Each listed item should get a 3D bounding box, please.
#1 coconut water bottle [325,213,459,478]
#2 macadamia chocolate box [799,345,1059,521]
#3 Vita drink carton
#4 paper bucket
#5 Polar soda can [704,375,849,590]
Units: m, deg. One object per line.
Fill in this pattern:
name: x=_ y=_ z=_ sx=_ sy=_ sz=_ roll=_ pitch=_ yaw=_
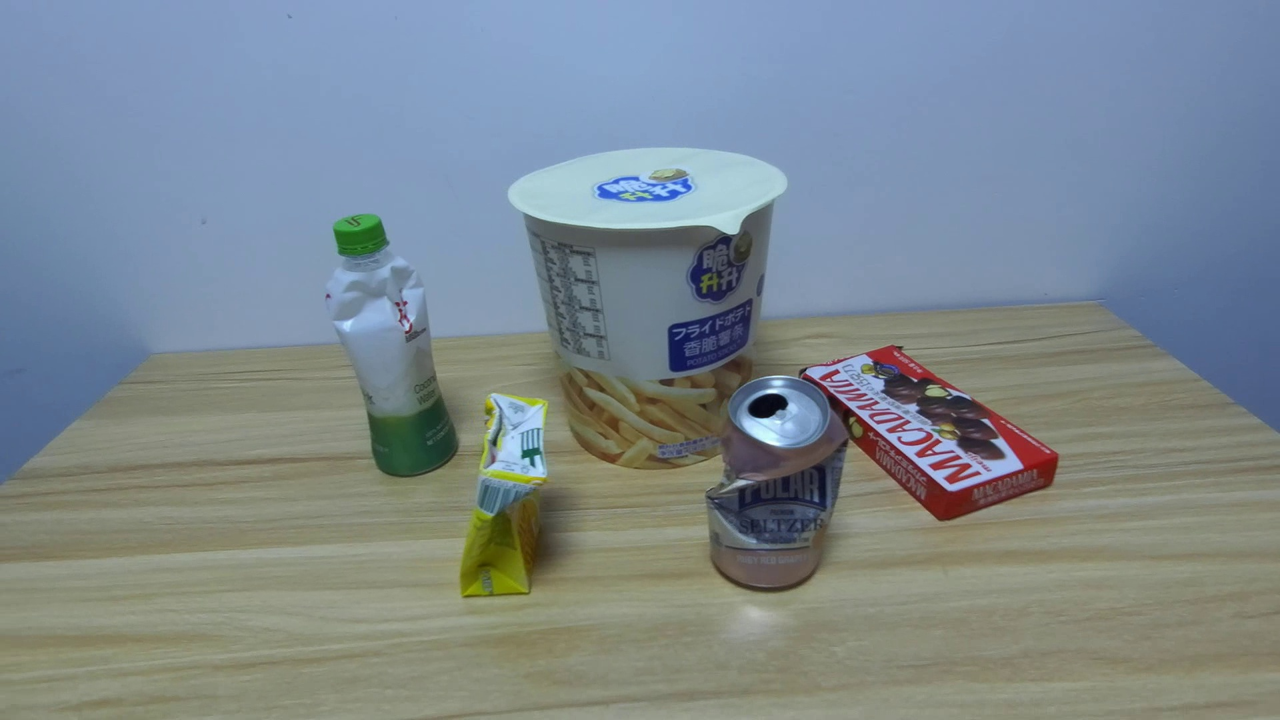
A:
coconut water bottle: x=-0.179 y=-0.008 z=0.502 sx=0.069 sy=0.186 sz=0.069 roll=-3 pitch=31 yaw=2
macadamia chocolate box: x=0.210 y=0.044 z=0.539 sx=0.106 sy=0.028 sz=0.182 roll=-13 pitch=31 yaw=-16
Vita drink carton: x=-0.079 y=0.083 z=0.424 sx=0.042 sy=0.108 sz=0.087 roll=9 pitch=32 yaw=-7
paper bucket: x=0.011 y=-0.040 z=0.532 sx=0.198 sy=0.195 sz=0.198 roll=-3 pitch=30 yaw=2
Polar soda can: x=0.075 y=0.075 z=0.405 sx=0.066 sy=0.122 sz=0.071 roll=29 pitch=43 yaw=34
